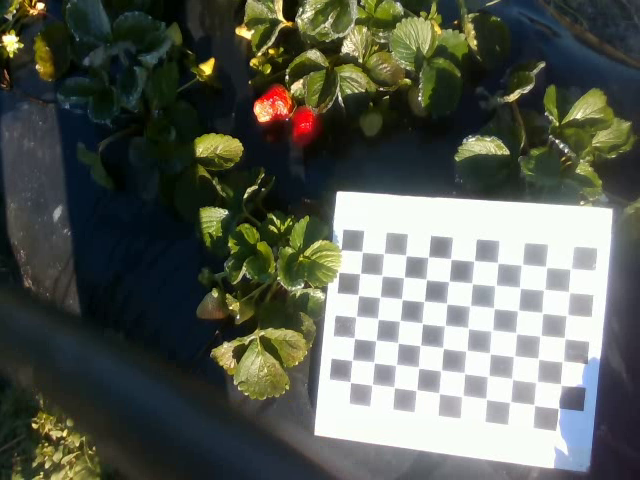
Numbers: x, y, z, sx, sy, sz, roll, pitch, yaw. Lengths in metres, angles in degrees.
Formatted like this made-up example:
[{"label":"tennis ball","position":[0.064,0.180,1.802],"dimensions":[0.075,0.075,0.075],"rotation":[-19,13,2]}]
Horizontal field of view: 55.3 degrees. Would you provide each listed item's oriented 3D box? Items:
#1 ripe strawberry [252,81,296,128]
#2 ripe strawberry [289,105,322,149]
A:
[{"label":"ripe strawberry","position":[-0.067,-0.187,0.853],"dimensions":[0.069,0.053,0.040],"rotation":[-39,-3,0]},{"label":"ripe strawberry","position":[-0.024,-0.161,0.833],"dimensions":[0.043,0.059,0.040],"rotation":[4,-7,12]}]
